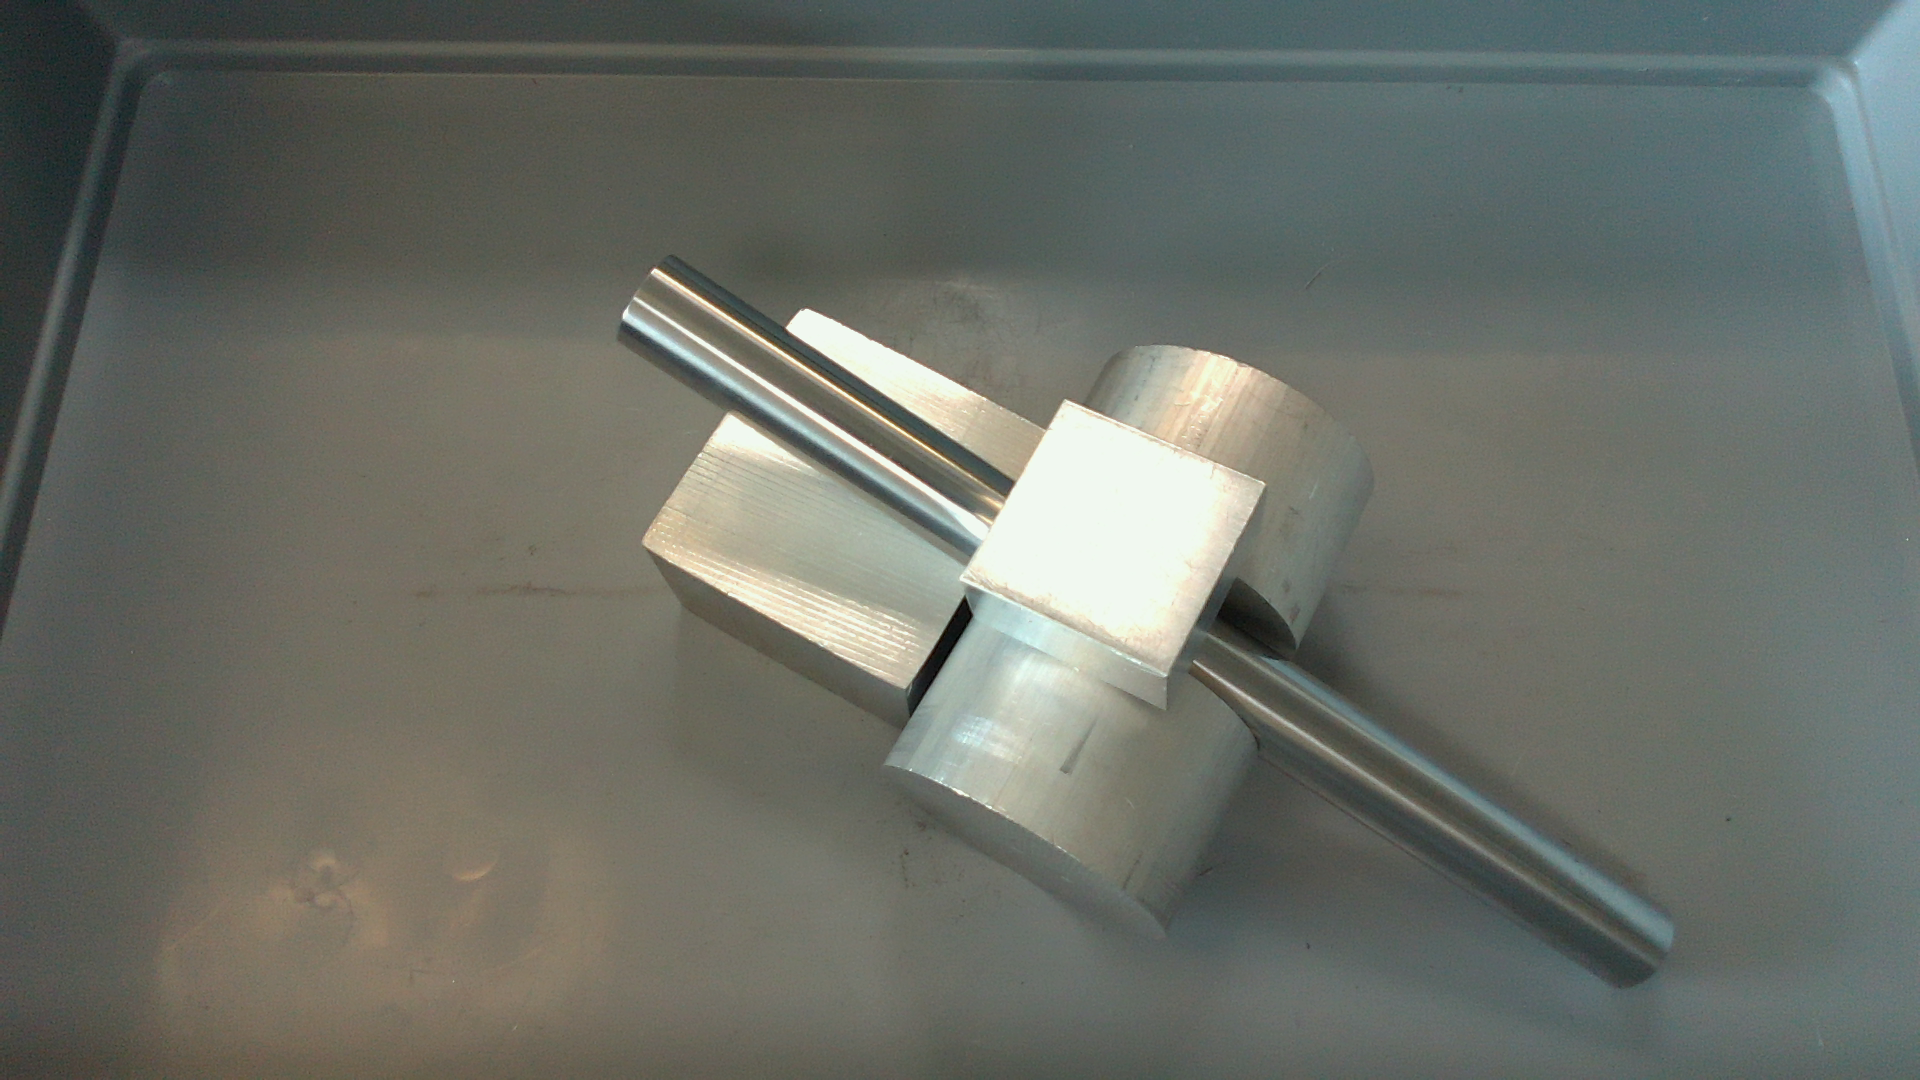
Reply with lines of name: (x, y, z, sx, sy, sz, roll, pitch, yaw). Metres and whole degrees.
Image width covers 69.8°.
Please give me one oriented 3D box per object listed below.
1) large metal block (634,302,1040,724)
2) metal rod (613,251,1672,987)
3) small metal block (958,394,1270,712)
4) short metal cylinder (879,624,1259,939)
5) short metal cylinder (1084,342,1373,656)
large metal block: (-0.029, -0.005, 0.380, 0.080, 0.050, 0.080, 28, 72, 10)
metal rod: (0.049, 0.023, 0.343, 0.300, 0.025, 0.025, 33, 73, -5)
small metal block: (0.035, 0.003, 0.309, 0.050, 0.025, 0.050, 25, 72, 18)
short metal cylinder: (0.027, 0.056, 0.343, 0.080, 0.080, 0.050, 28, 73, 10)
short metal cylinder: (0.062, -0.008, 0.368, 0.080, 0.080, 0.050, 26, 72, 9)
